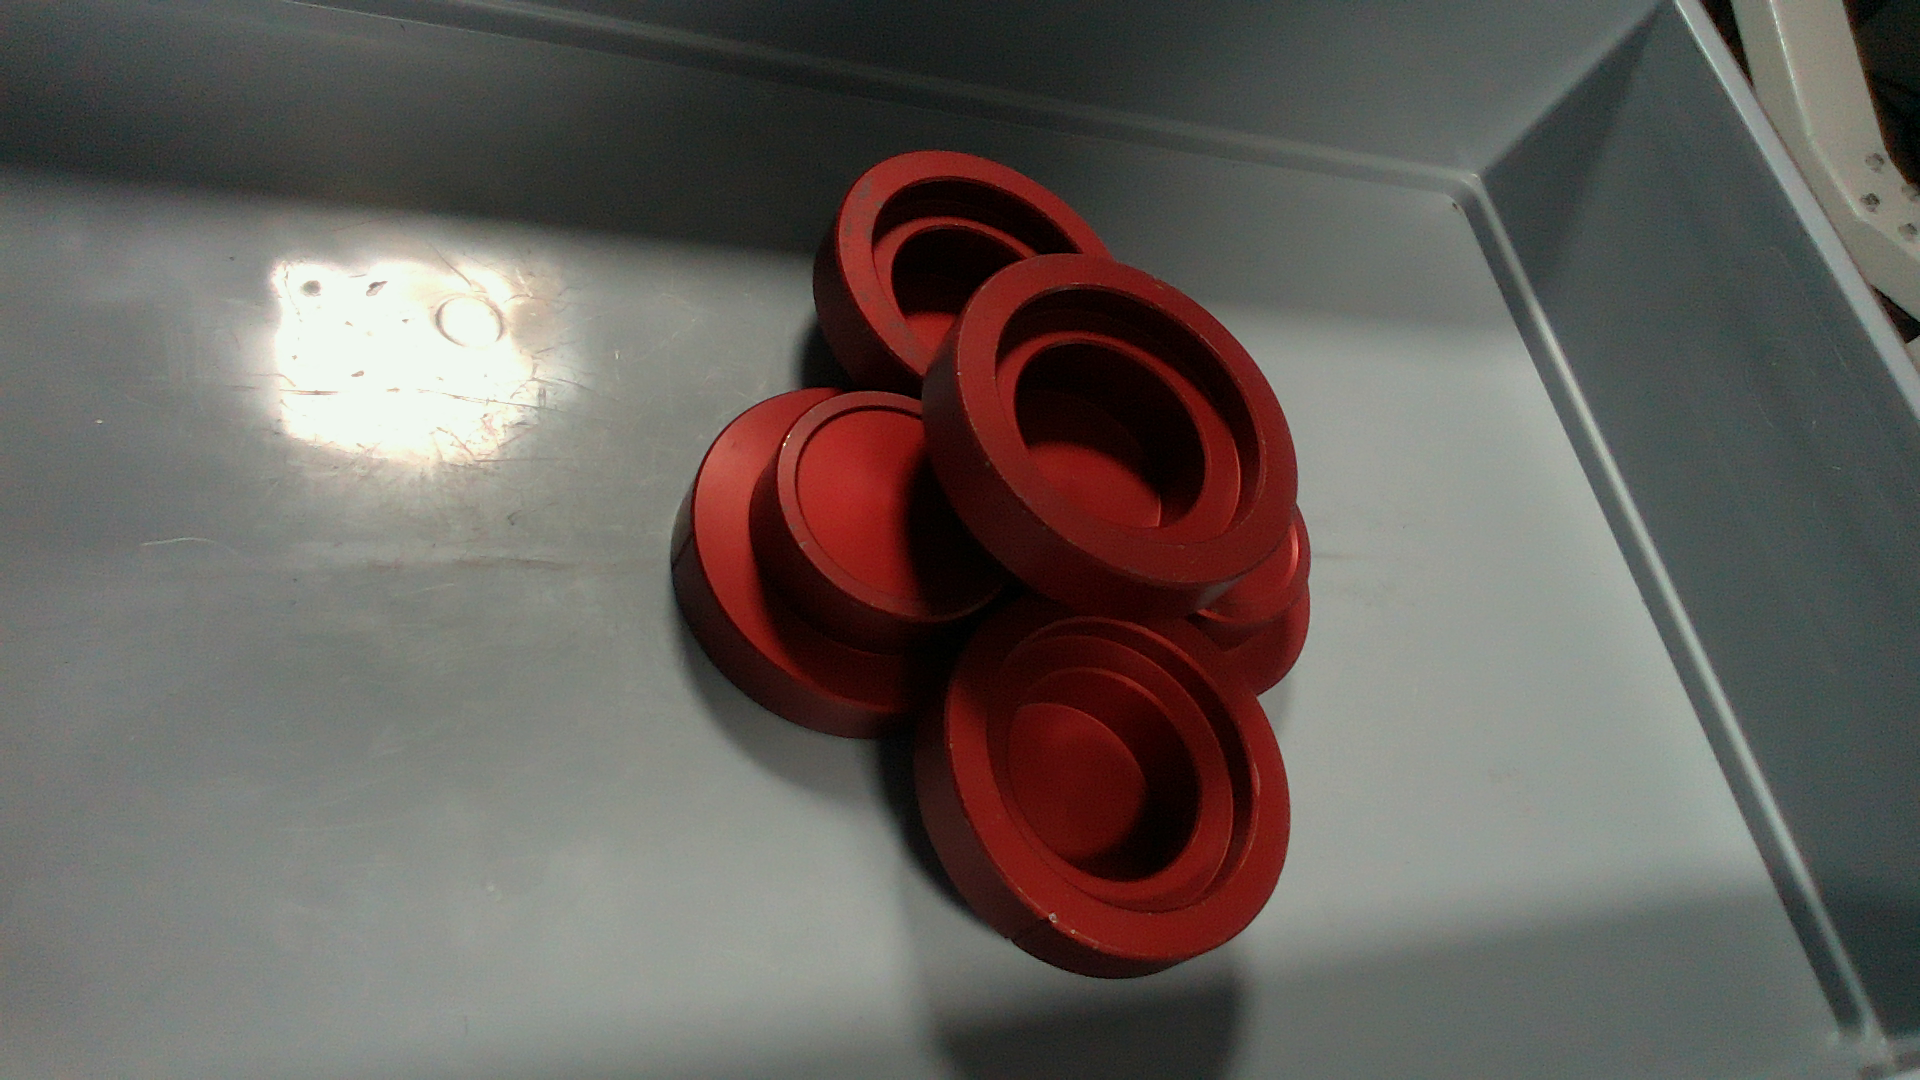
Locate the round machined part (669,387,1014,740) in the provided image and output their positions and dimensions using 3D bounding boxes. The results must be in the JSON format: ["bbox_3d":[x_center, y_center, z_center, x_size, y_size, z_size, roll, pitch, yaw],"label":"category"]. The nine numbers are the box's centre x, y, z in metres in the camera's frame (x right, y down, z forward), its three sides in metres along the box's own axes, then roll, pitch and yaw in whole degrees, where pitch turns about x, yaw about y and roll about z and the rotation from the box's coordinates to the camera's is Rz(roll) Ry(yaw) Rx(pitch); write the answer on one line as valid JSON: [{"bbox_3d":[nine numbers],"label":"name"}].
[{"bbox_3d":[-0.024,0.000,0.364,0.098,0.042,0.098,14,56,-21],"label":"round machined part"}]

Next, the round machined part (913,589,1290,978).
[{"bbox_3d":[0.032,0.063,0.355,0.098,0.042,0.098,14,56,-21],"label":"round machined part"}]

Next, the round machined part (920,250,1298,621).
[{"bbox_3d":[0.034,-0.023,0.355,0.098,0.042,0.098,14,56,-21],"label":"round machined part"}]

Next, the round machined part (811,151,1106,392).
[{"bbox_3d":[0.001,-0.066,0.418,0.098,0.042,0.098,14,56,-21],"label":"round machined part"}]

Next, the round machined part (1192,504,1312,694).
[{"bbox_3d":[0.065,0.002,0.410,0.098,0.042,0.098,14,56,-21],"label":"round machined part"}]
